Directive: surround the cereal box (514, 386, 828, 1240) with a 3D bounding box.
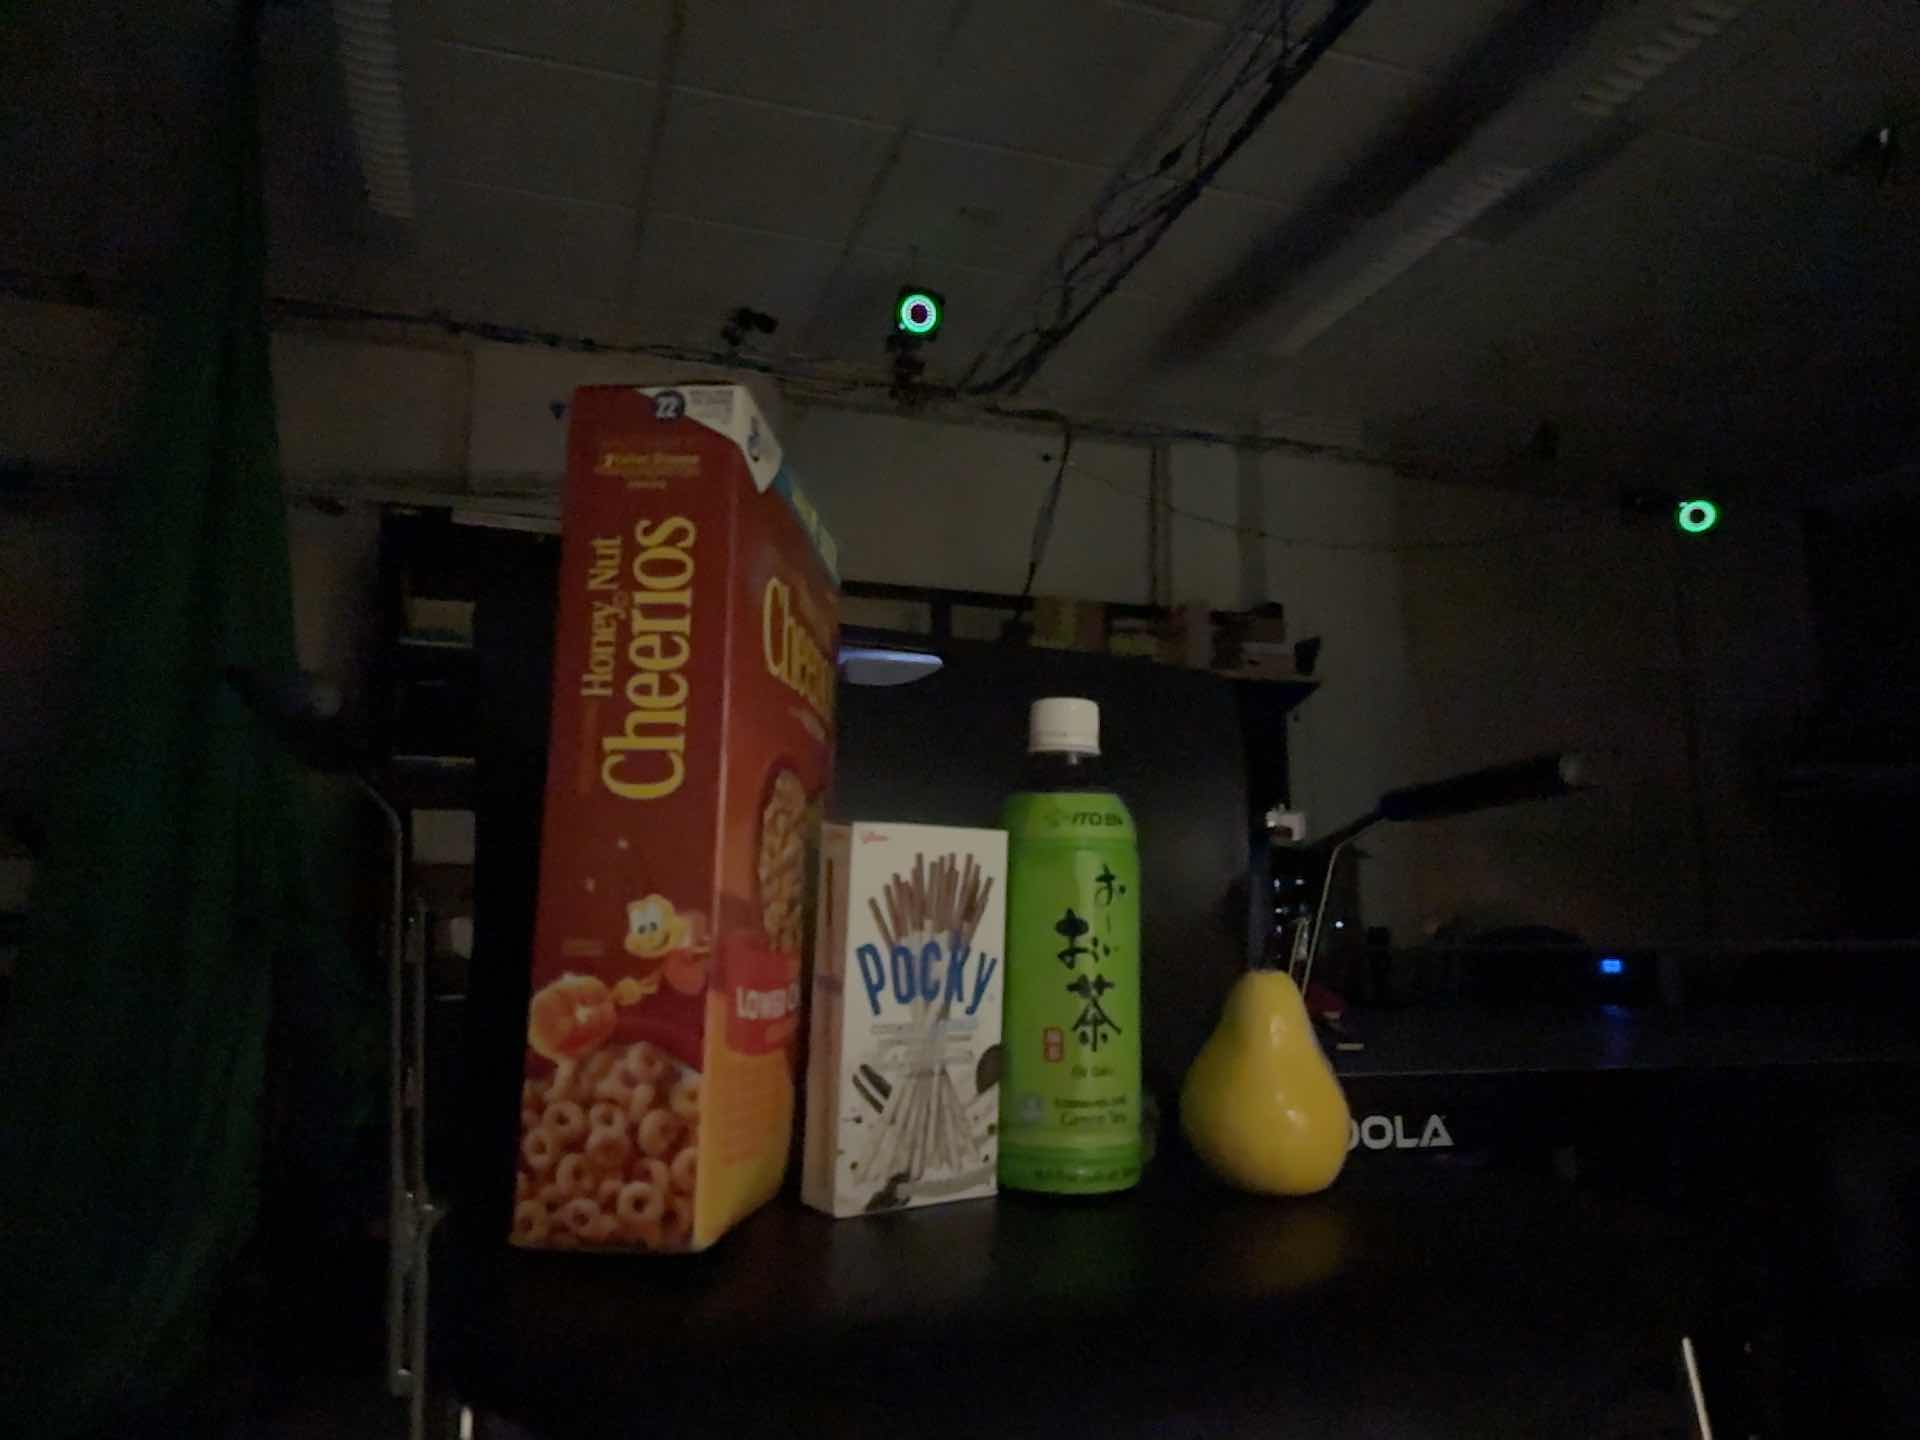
[{"bbox_3d":[-0.109,0.039,0.573,0.065,0.297,0.195,1,-9,3],"label":"cereal box"}]

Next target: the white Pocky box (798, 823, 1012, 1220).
[{"bbox_3d":[-0.022,0.121,0.558,0.084,0.154,0.028,6,-4,-36],"label":"white Pocky box"}]

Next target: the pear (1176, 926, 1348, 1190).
[{"bbox_3d":[0.132,0.150,0.605,0.080,0.111,0.080,-3,-11,-1],"label":"pear"}]

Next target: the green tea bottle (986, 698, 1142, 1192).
[{"bbox_3d":[0.043,0.096,0.604,0.073,0.212,0.073,-2,-6,0],"label":"green tea bottle"}]
